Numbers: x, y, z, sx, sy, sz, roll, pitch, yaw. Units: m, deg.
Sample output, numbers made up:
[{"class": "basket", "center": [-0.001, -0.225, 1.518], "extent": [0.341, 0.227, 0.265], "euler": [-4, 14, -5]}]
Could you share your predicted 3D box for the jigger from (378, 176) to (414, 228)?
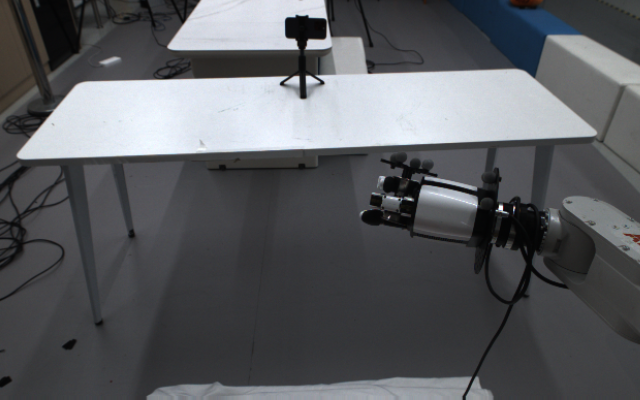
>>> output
[{"class": "jigger", "center": [0.122, -0.001, 0.739], "extent": [0.043, 0.071, 0.043], "euler": [17, 2, -1]}]
